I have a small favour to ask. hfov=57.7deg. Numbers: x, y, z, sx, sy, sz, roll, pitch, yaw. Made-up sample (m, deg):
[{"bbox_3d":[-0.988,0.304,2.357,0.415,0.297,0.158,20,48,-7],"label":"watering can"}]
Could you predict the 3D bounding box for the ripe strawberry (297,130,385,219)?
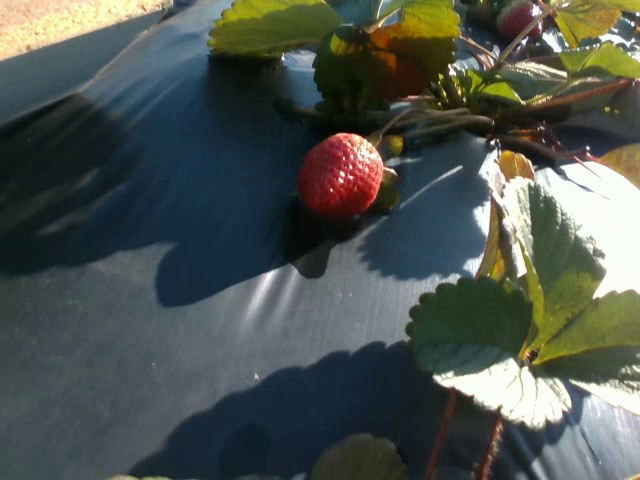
[{"bbox_3d":[0.008,-0.026,0.243,0.044,0.044,0.064,-25,16,28],"label":"ripe strawberry"}]
